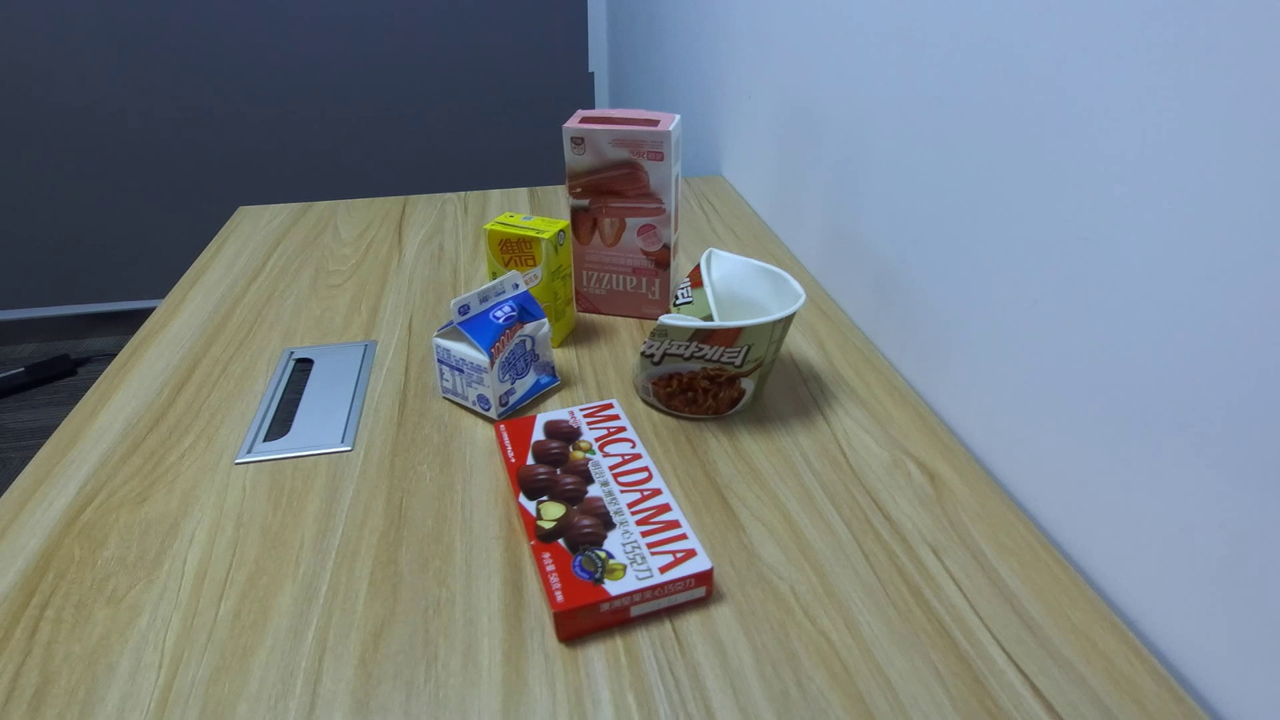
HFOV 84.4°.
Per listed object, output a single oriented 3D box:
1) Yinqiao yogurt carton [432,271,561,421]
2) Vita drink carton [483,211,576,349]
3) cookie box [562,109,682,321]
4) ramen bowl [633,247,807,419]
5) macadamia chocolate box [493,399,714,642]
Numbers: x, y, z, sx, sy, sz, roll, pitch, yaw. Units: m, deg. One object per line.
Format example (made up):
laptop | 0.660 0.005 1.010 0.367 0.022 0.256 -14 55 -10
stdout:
Yinqiao yogurt carton | -0.115 -0.015 0.563 0.070 0.094 0.077 19 36 36
Vita drink carton | -0.096 -0.072 0.635 0.066 0.109 0.043 12 34 20
cookie box | -0.017 -0.130 0.653 0.105 0.188 0.049 7 34 12
ramen bowl | 0.055 -0.017 0.561 0.137 0.098 0.137 -1 35 1
macadamia chocolate box | -0.031 0.092 0.461 0.096 0.027 0.177 -11 35 -17
